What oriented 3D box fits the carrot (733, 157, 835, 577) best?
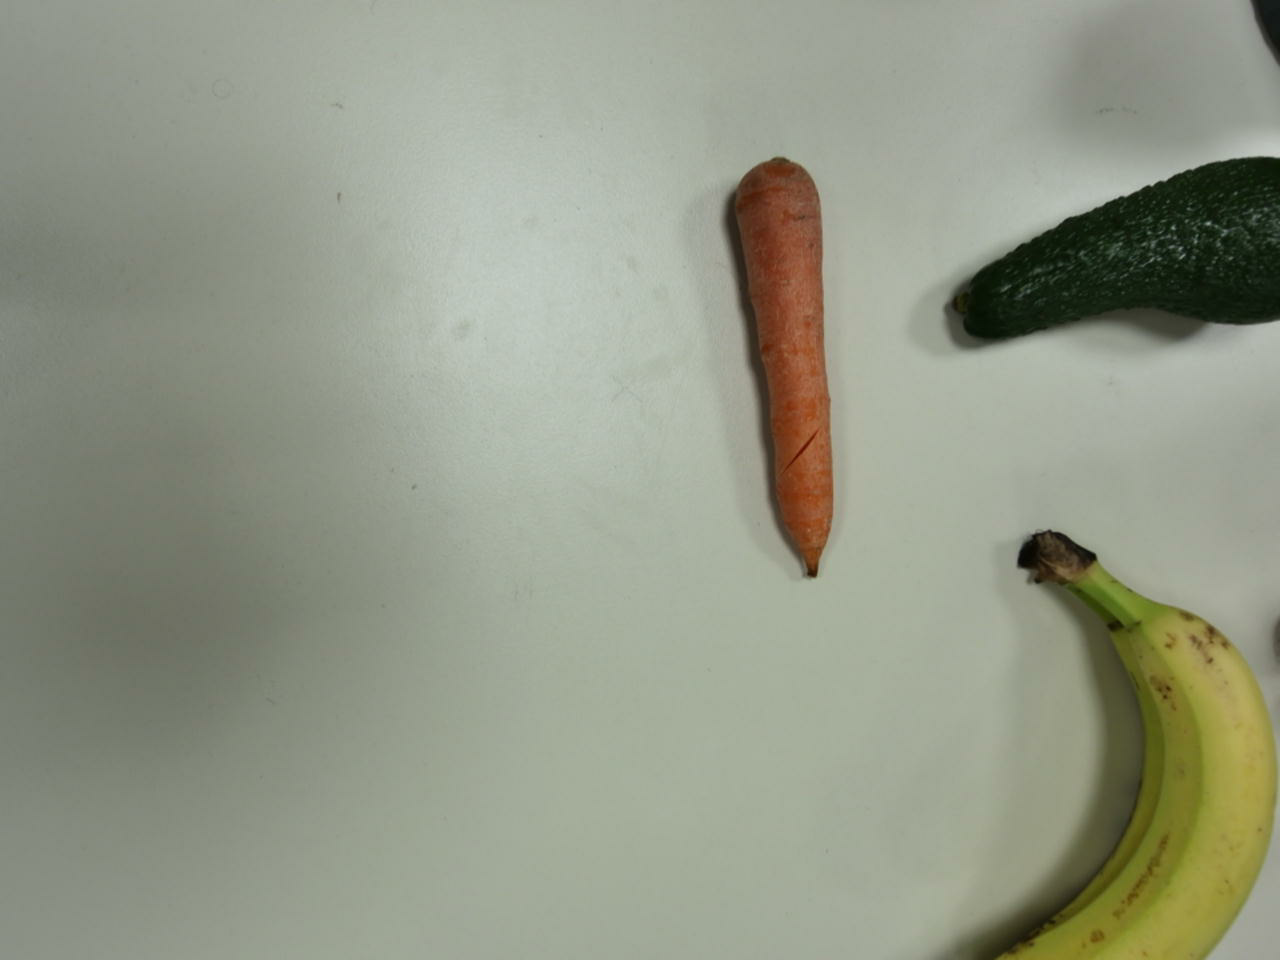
[{"bbox_3d":[0.075,-0.049,0.465,0.039,0.041,0.196,-9,92,-12],"label":"carrot"}]
